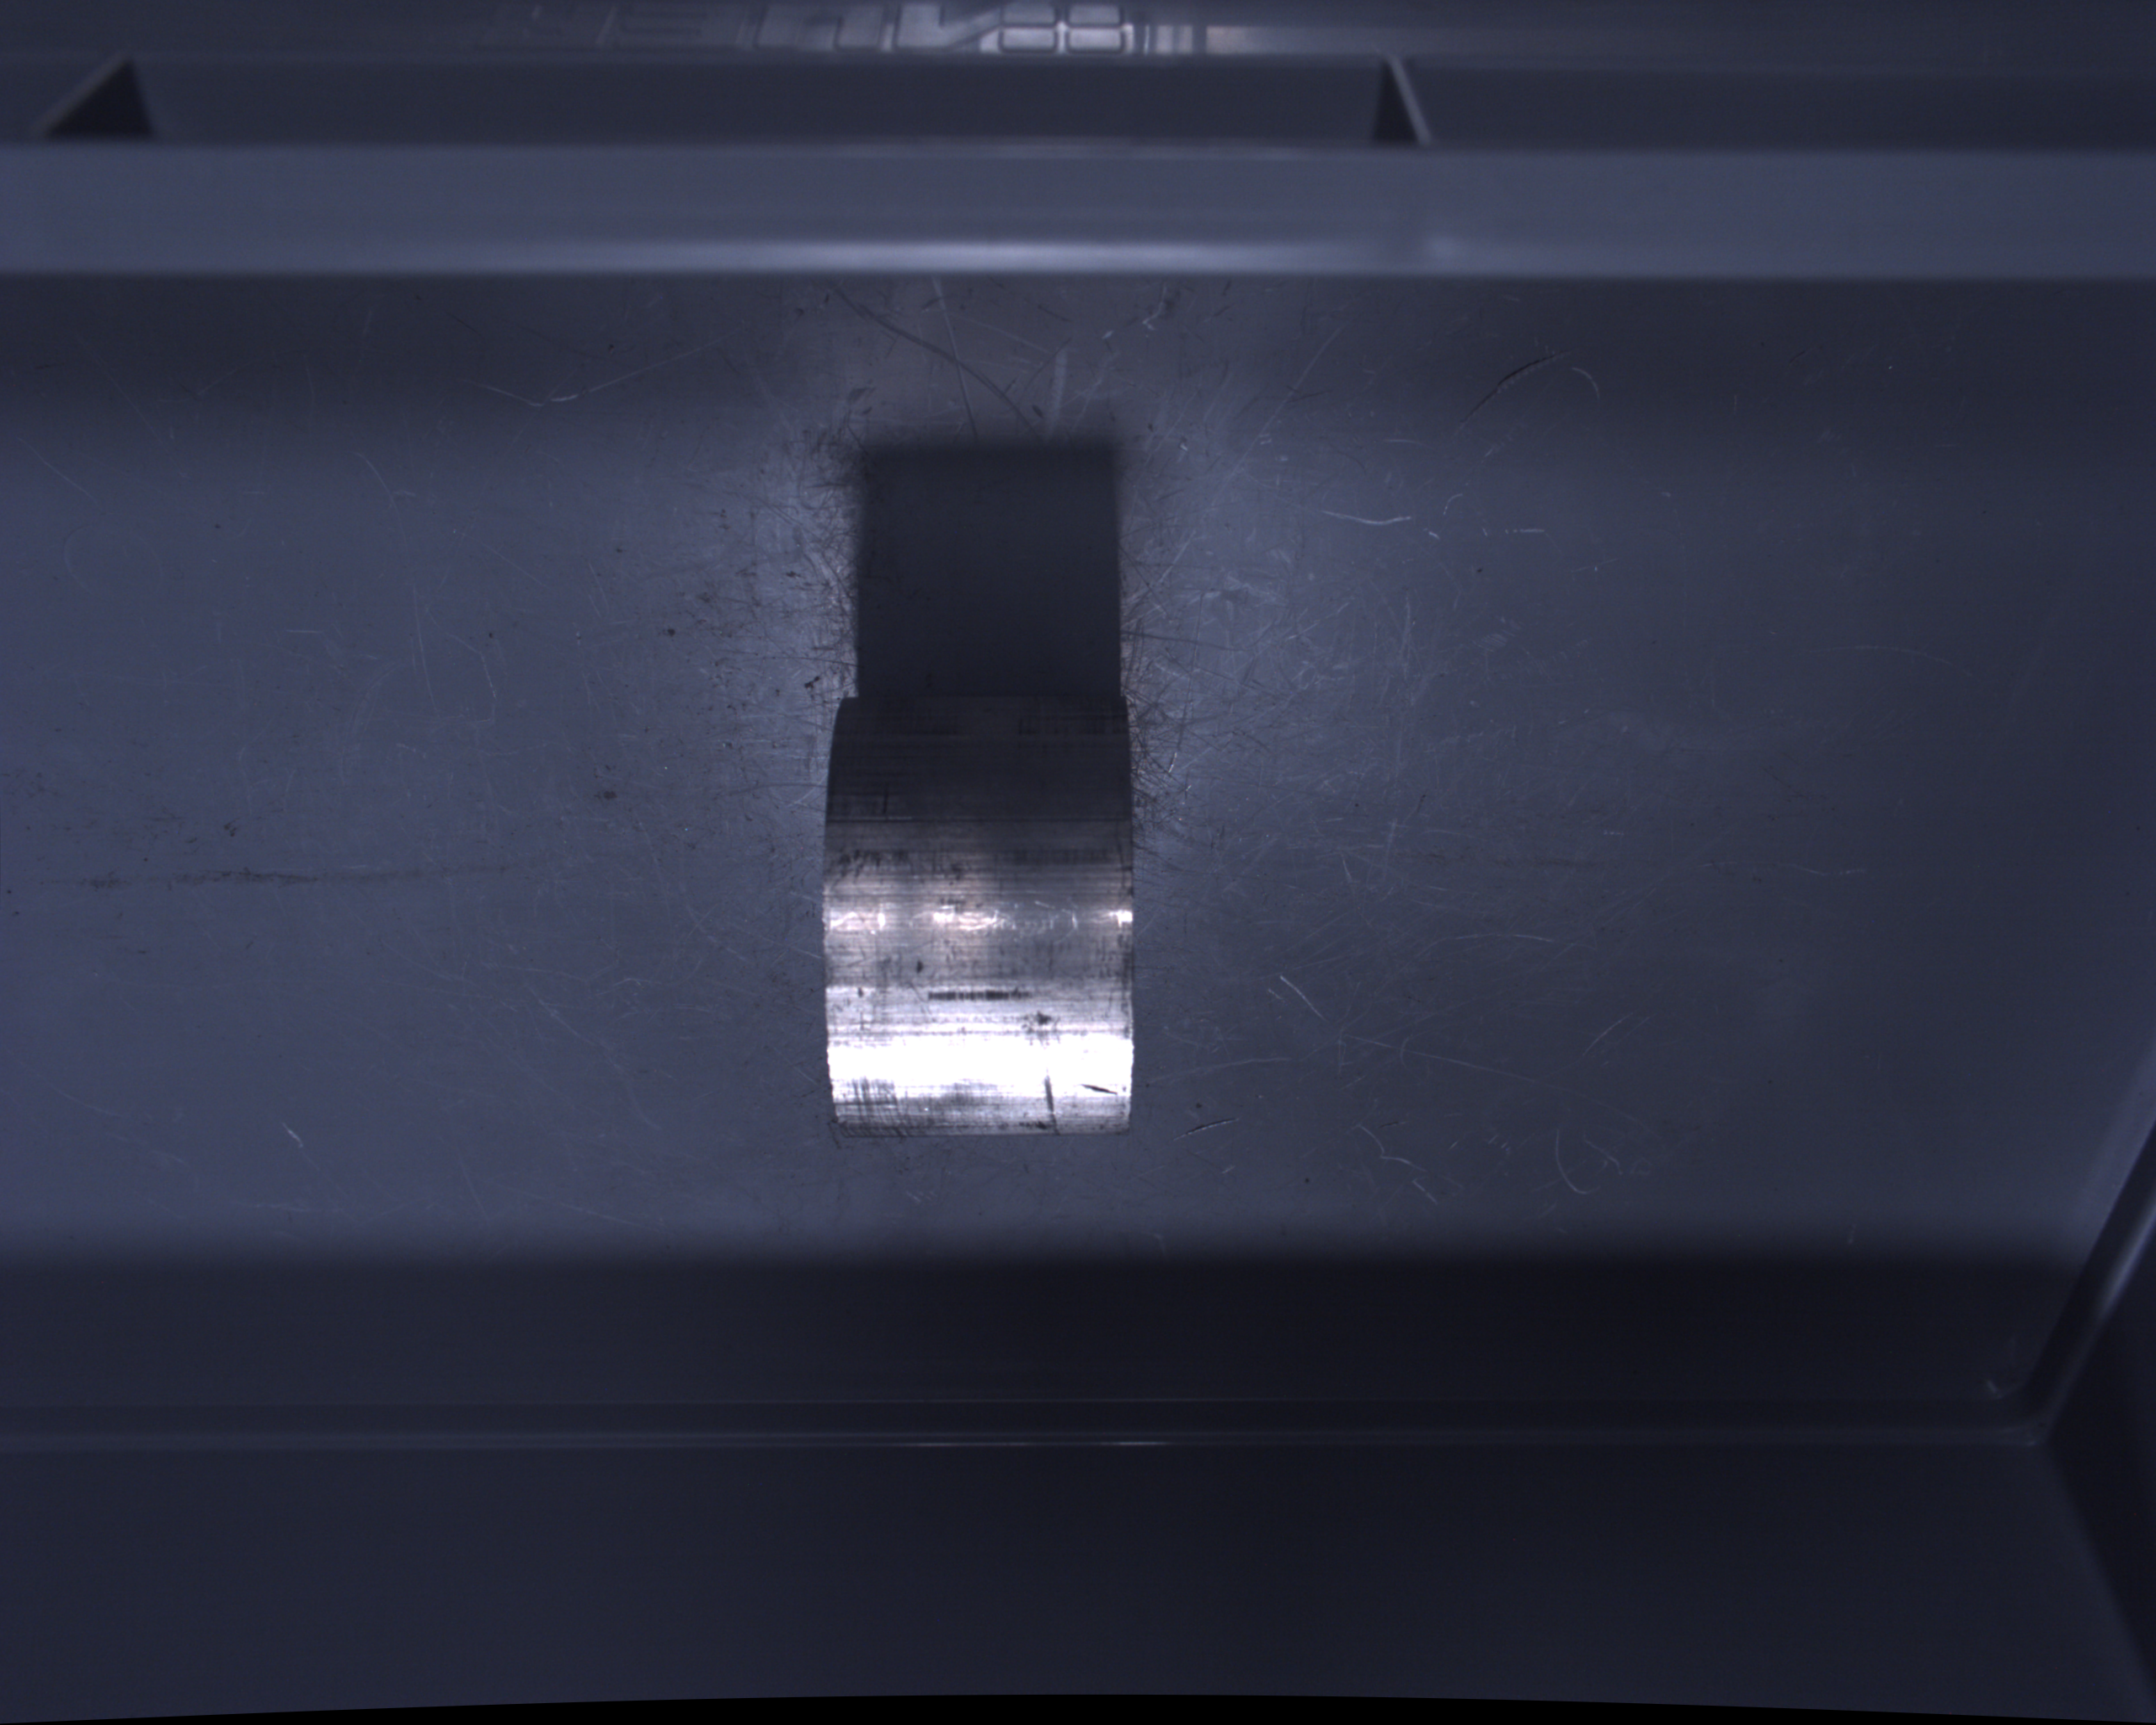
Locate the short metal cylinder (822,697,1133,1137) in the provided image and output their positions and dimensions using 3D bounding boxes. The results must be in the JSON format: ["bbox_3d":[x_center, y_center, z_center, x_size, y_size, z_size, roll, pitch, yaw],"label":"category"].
[{"bbox_3d":[-0.017,0.010,0.378,0.050,0.080,0.079,0,130,-1],"label":"short metal cylinder"}]
